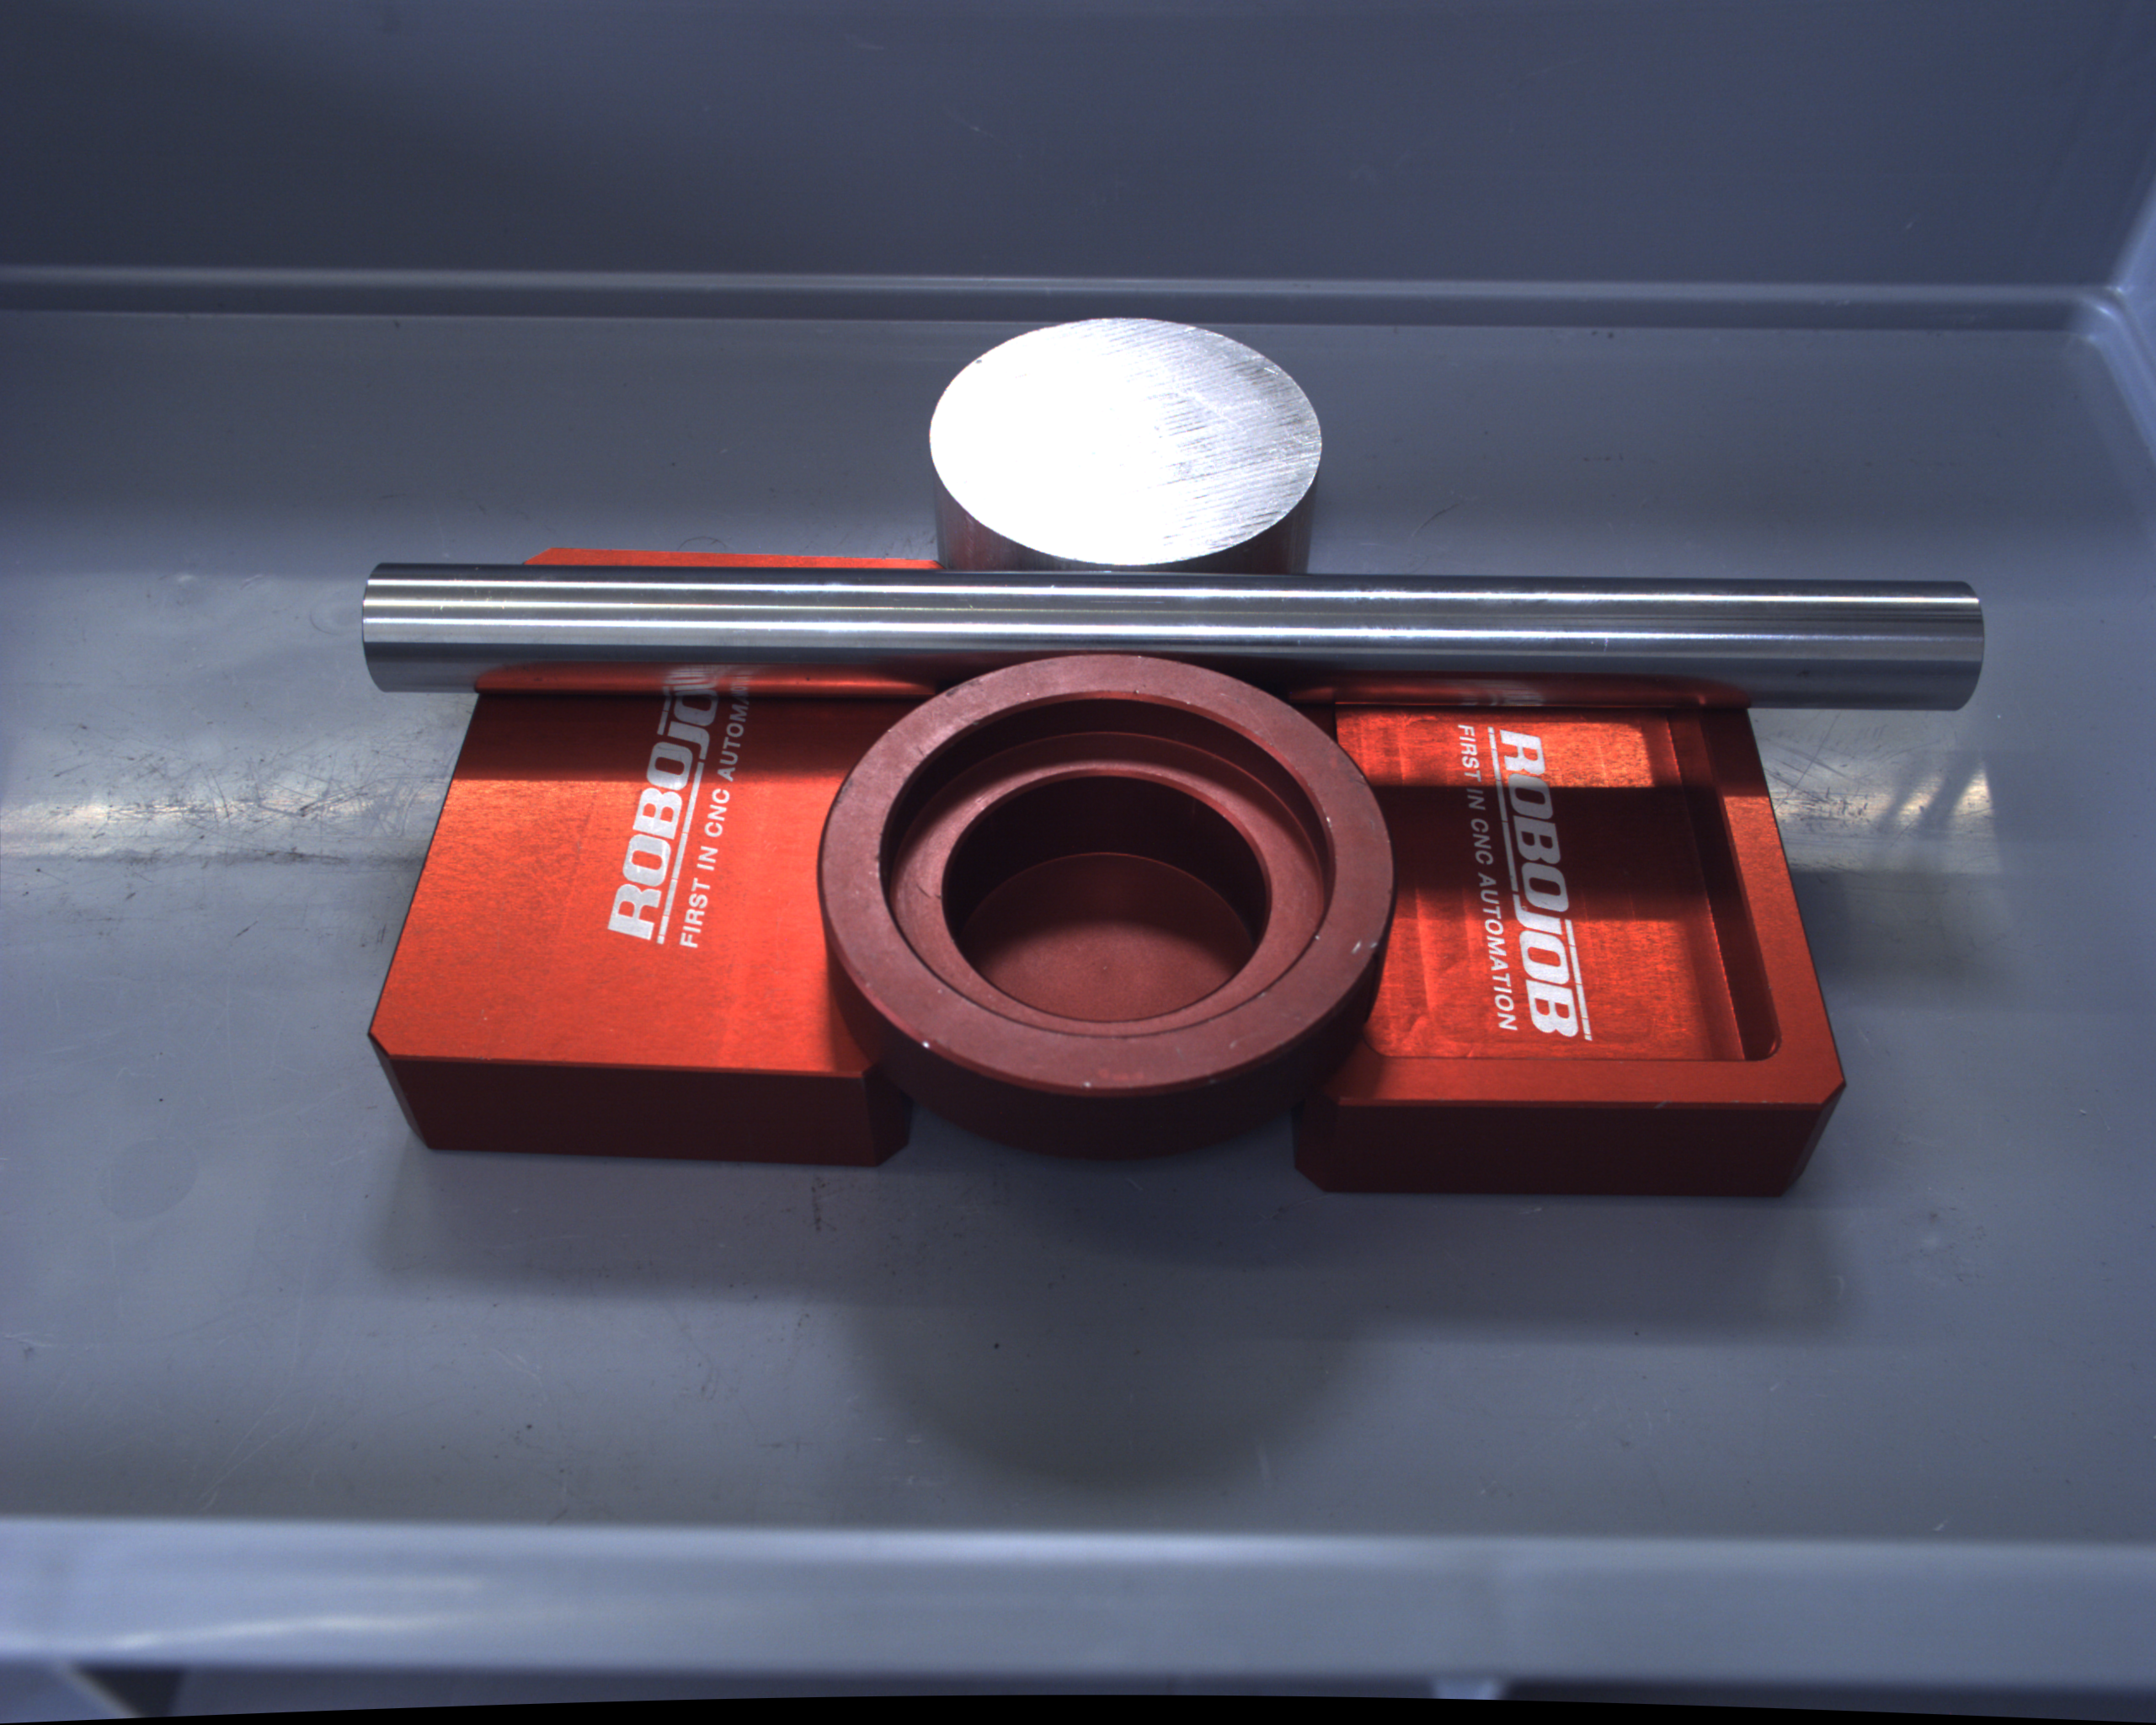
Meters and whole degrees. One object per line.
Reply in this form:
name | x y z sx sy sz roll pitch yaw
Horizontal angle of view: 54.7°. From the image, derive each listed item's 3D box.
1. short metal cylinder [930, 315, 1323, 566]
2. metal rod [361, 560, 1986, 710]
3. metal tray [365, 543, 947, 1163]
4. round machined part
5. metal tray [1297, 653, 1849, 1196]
short metal cylinder | 0.010 -0.073 0.447 0.081 0.050 0.080 0 50 0
metal rod | 0.018 -0.044 0.400 0.302 0.025 0.025 1 50 0
metal tray | -0.073 -0.007 0.403 0.091 0.030 0.130 2 50 2
round machined part | 0.005 0.011 0.370 0.099 0.042 0.098 0 50 0
metal tray | 0.085 0.000 0.400 0.091 0.030 0.130 1 50 0
